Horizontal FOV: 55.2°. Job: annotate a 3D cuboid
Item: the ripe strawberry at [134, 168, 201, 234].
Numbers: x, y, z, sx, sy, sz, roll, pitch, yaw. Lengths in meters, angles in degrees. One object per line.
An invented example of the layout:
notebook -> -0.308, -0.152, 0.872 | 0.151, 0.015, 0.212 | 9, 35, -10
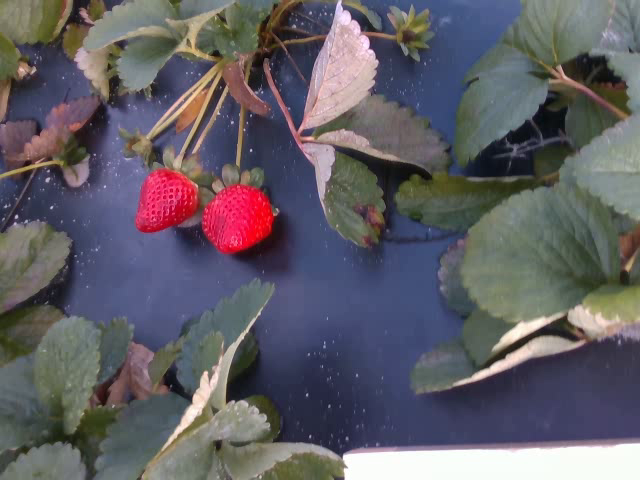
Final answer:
ripe strawberry -> -0.112, -0.026, 0.433 | 0.048, 0.056, 0.041 | 6, -35, 24

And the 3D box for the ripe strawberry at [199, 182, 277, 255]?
ripe strawberry -> -0.060, -0.013, 0.401 | 0.057, 0.051, 0.064 | -28, 35, 12
